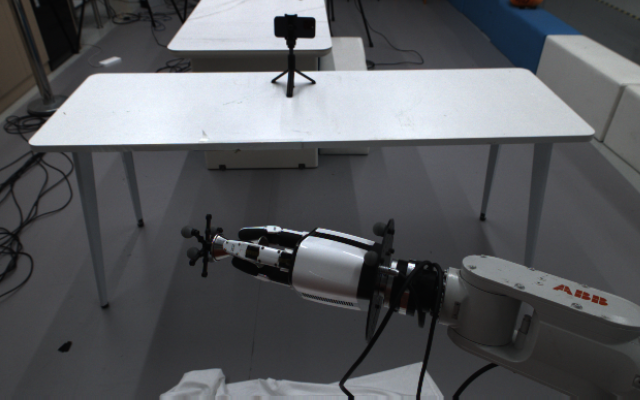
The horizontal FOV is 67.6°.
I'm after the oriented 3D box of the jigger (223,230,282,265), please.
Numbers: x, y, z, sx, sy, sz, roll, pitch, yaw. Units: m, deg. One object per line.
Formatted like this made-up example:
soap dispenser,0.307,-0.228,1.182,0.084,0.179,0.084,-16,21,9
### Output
jigger,-0.102,0.064,0.667,0.071,0.043,0.043,3,34,15
